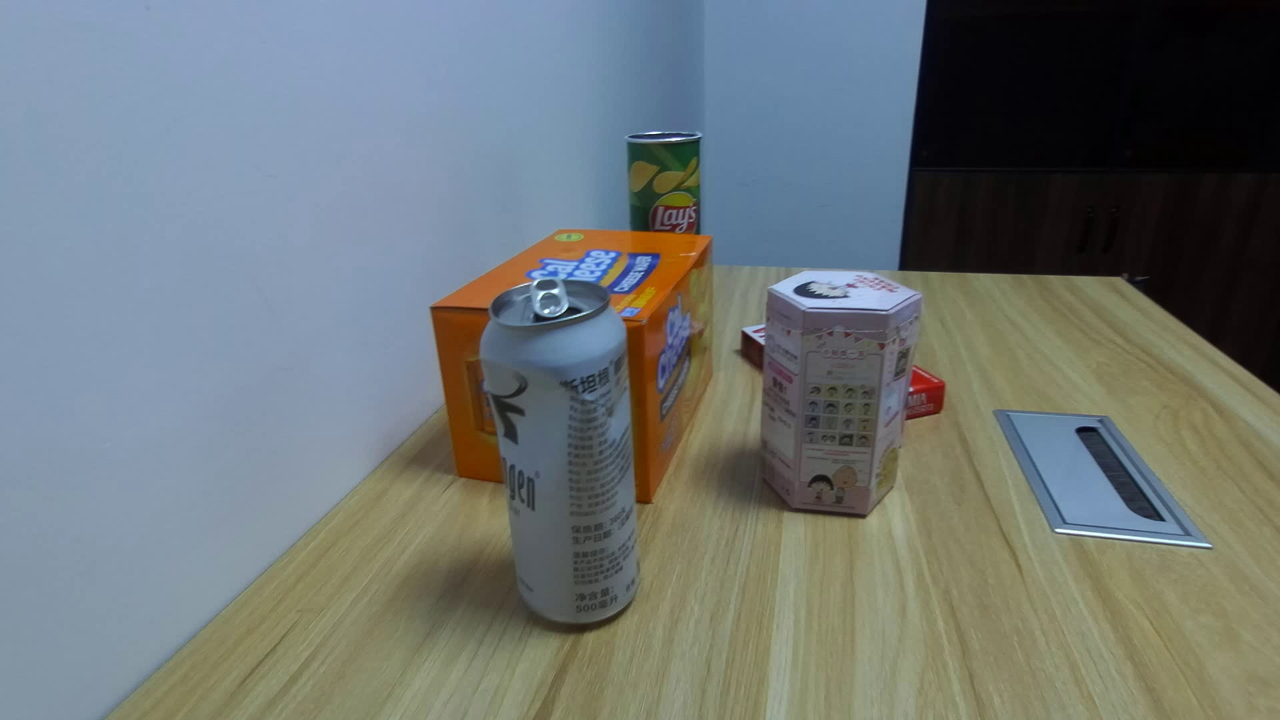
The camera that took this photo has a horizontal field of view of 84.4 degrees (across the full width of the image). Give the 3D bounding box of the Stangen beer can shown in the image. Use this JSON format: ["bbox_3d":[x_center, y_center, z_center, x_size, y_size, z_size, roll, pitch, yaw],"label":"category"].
[{"bbox_3d":[-0.038,0.048,0.351,0.069,0.173,0.070,-3,22,0],"label":"Stangen beer can"}]

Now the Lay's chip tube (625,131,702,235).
[{"bbox_3d":[0.026,-0.114,0.679,0.071,0.203,0.071,-3,25,1],"label":"Lay's chip tube"}]

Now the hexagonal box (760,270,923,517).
[{"bbox_3d":[0.124,0.019,0.445,0.084,0.136,0.091,-10,25,-17],"label":"hexagonal box"}]

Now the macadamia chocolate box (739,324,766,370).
[{"bbox_3d":[0.142,-0.005,0.593,0.095,0.027,0.178,-3,11,-1],"label":"macadamia chocolate box"}]

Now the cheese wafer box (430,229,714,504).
[{"bbox_3d":[-0.032,-0.012,0.550,0.148,0.129,0.222,6,24,15],"label":"cheese wafer box"}]
